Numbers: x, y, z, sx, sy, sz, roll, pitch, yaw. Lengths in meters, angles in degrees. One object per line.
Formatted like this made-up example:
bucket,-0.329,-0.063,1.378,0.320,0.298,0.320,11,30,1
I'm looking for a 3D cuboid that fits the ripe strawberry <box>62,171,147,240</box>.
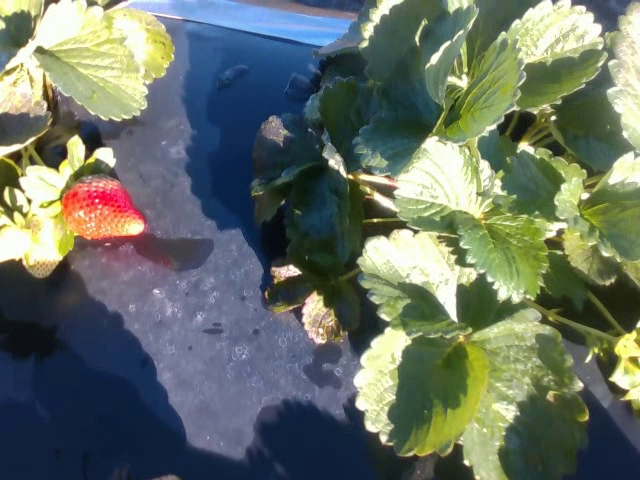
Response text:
ripe strawberry,-0.130,-0.016,0.379,0.064,0.050,0.052,20,13,21
